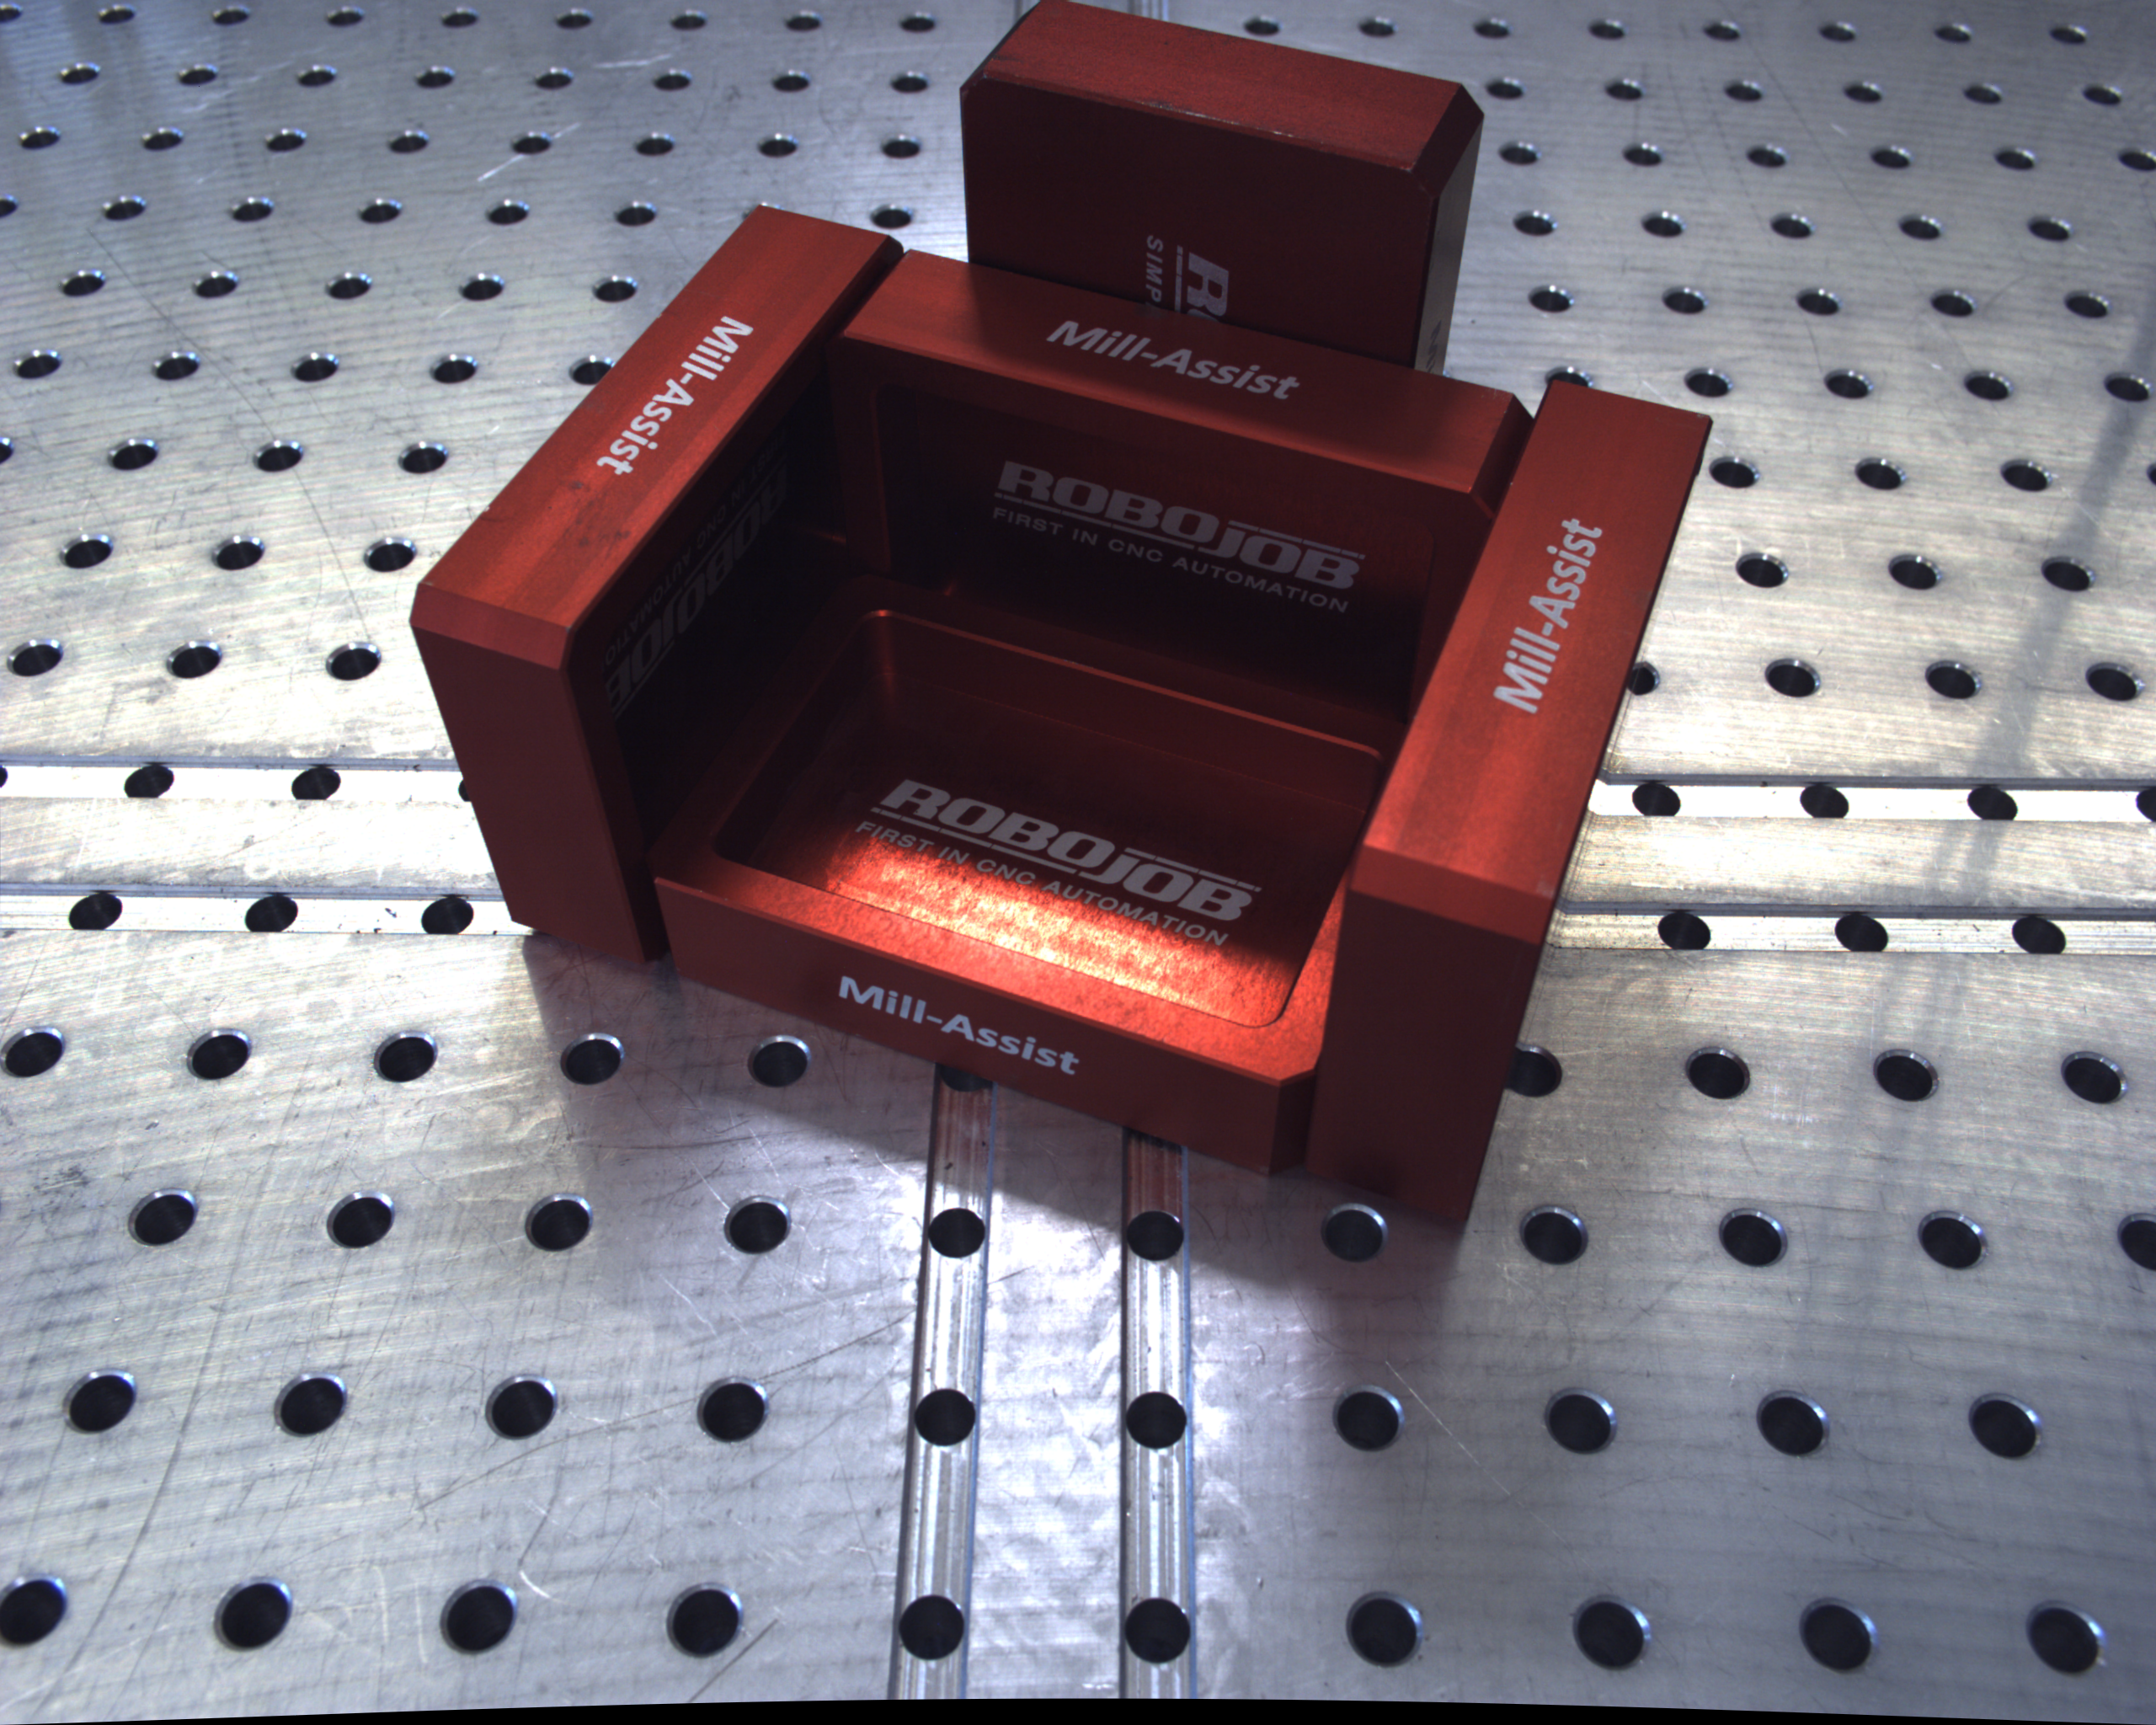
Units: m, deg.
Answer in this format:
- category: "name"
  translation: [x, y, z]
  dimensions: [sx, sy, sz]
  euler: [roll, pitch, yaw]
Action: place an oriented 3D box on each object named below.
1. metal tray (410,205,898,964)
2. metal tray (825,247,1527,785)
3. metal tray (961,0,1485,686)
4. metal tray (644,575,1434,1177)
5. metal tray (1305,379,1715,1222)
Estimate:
- category: "metal tray"
  translation: [-0.073, -0.056, 0.412]
  dimensions: [0.030, 0.090, 0.130]
  euler: [17, 52, 14]
- category: "metal tray"
  translation: [0.018, -0.064, 0.419]
  dimensions: [0.130, 0.090, 0.030]
  euler: [17, 53, 13]
- category: "metal tray"
  translation: [0.026, -0.100, 0.423]
  dimensions: [0.090, 0.129, 0.030]
  euler: [18, 53, 14]
- category: "metal tray"
  translation: [-0.005, -0.002, 0.405]
  dimensions: [0.130, 0.030, 0.090]
  euler: [17, 52, 14]
- category: "metal tray"
  translation: [0.078, -0.013, 0.376]
  dimensions: [0.030, 0.090, 0.130]
  euler: [17, 52, 14]
